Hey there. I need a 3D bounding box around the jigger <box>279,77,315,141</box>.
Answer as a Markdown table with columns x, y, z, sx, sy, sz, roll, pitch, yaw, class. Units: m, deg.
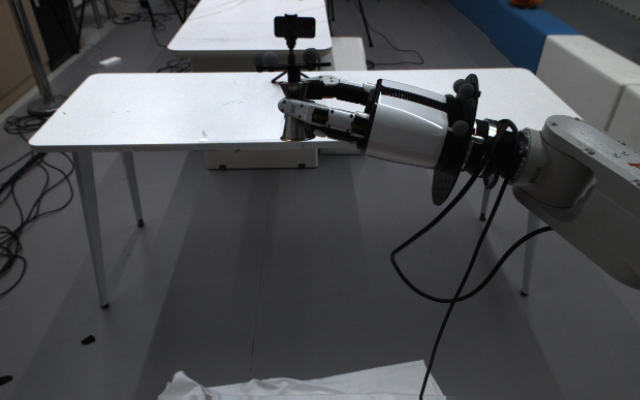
| x | y | z | sx | sy | sz | roll | pitch | yaw | class |
| --- | --- | --- | --- | --- | --- | --- | --- | --- | --- |
| -0.029 | -0.108 | 0.585 | 0.043 | 0.071 | 0.043 | -2 | 19 | 1 | jigger |
